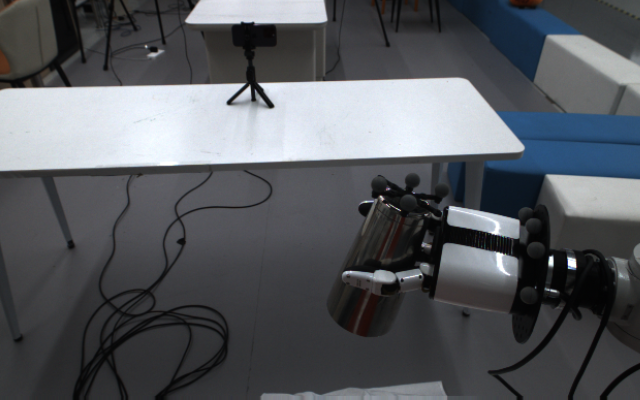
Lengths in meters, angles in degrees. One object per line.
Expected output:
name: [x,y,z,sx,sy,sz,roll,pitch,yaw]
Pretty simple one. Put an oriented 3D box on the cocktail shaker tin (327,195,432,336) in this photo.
cocktail shaker tin: [0.078,0.070,0.588,0.093,0.170,0.093,12,29,-7]
